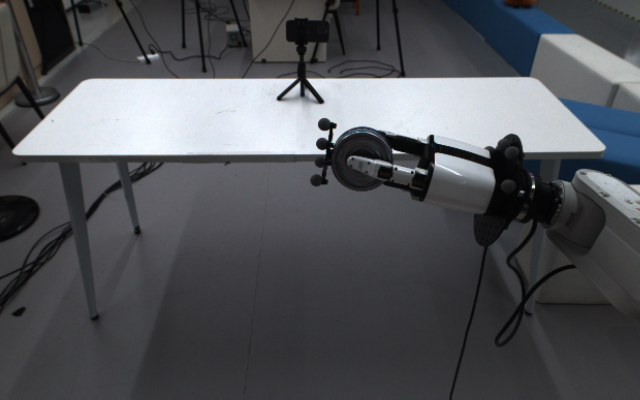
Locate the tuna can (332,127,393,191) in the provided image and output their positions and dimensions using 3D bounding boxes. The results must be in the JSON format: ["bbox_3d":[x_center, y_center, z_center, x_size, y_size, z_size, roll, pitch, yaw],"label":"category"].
[{"bbox_3d":[0.060,-0.053,0.666,0.085,0.085,0.034,4,17,3],"label":"tuna can"}]
